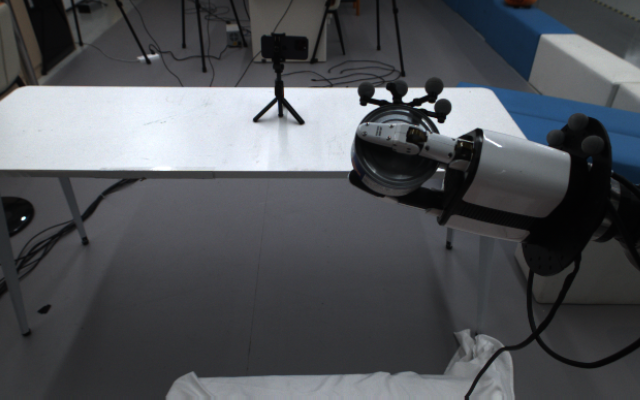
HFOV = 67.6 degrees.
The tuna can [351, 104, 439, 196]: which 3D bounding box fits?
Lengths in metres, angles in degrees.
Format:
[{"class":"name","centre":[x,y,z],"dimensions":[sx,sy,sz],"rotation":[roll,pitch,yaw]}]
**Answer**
[{"class":"tuna can","centre":[0.076,-0.052,0.477],"dimensions":[0.085,0.034,0.085],"rotation":[1,73,-4]}]
